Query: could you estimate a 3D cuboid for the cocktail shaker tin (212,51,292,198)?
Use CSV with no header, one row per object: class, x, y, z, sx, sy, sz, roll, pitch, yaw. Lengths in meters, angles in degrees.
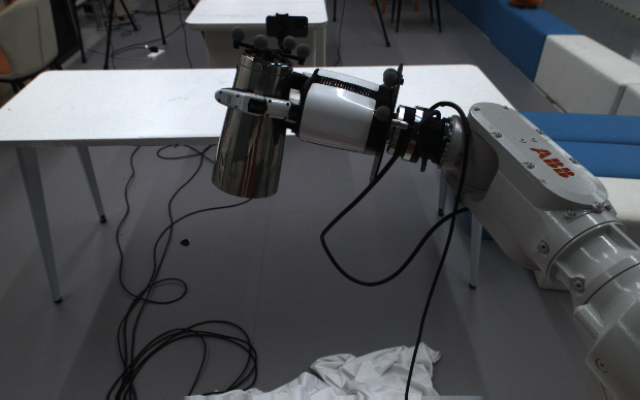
cocktail shaker tin,-0.080,-0.101,0.626,0.093,0.170,0.093,12,25,-6
